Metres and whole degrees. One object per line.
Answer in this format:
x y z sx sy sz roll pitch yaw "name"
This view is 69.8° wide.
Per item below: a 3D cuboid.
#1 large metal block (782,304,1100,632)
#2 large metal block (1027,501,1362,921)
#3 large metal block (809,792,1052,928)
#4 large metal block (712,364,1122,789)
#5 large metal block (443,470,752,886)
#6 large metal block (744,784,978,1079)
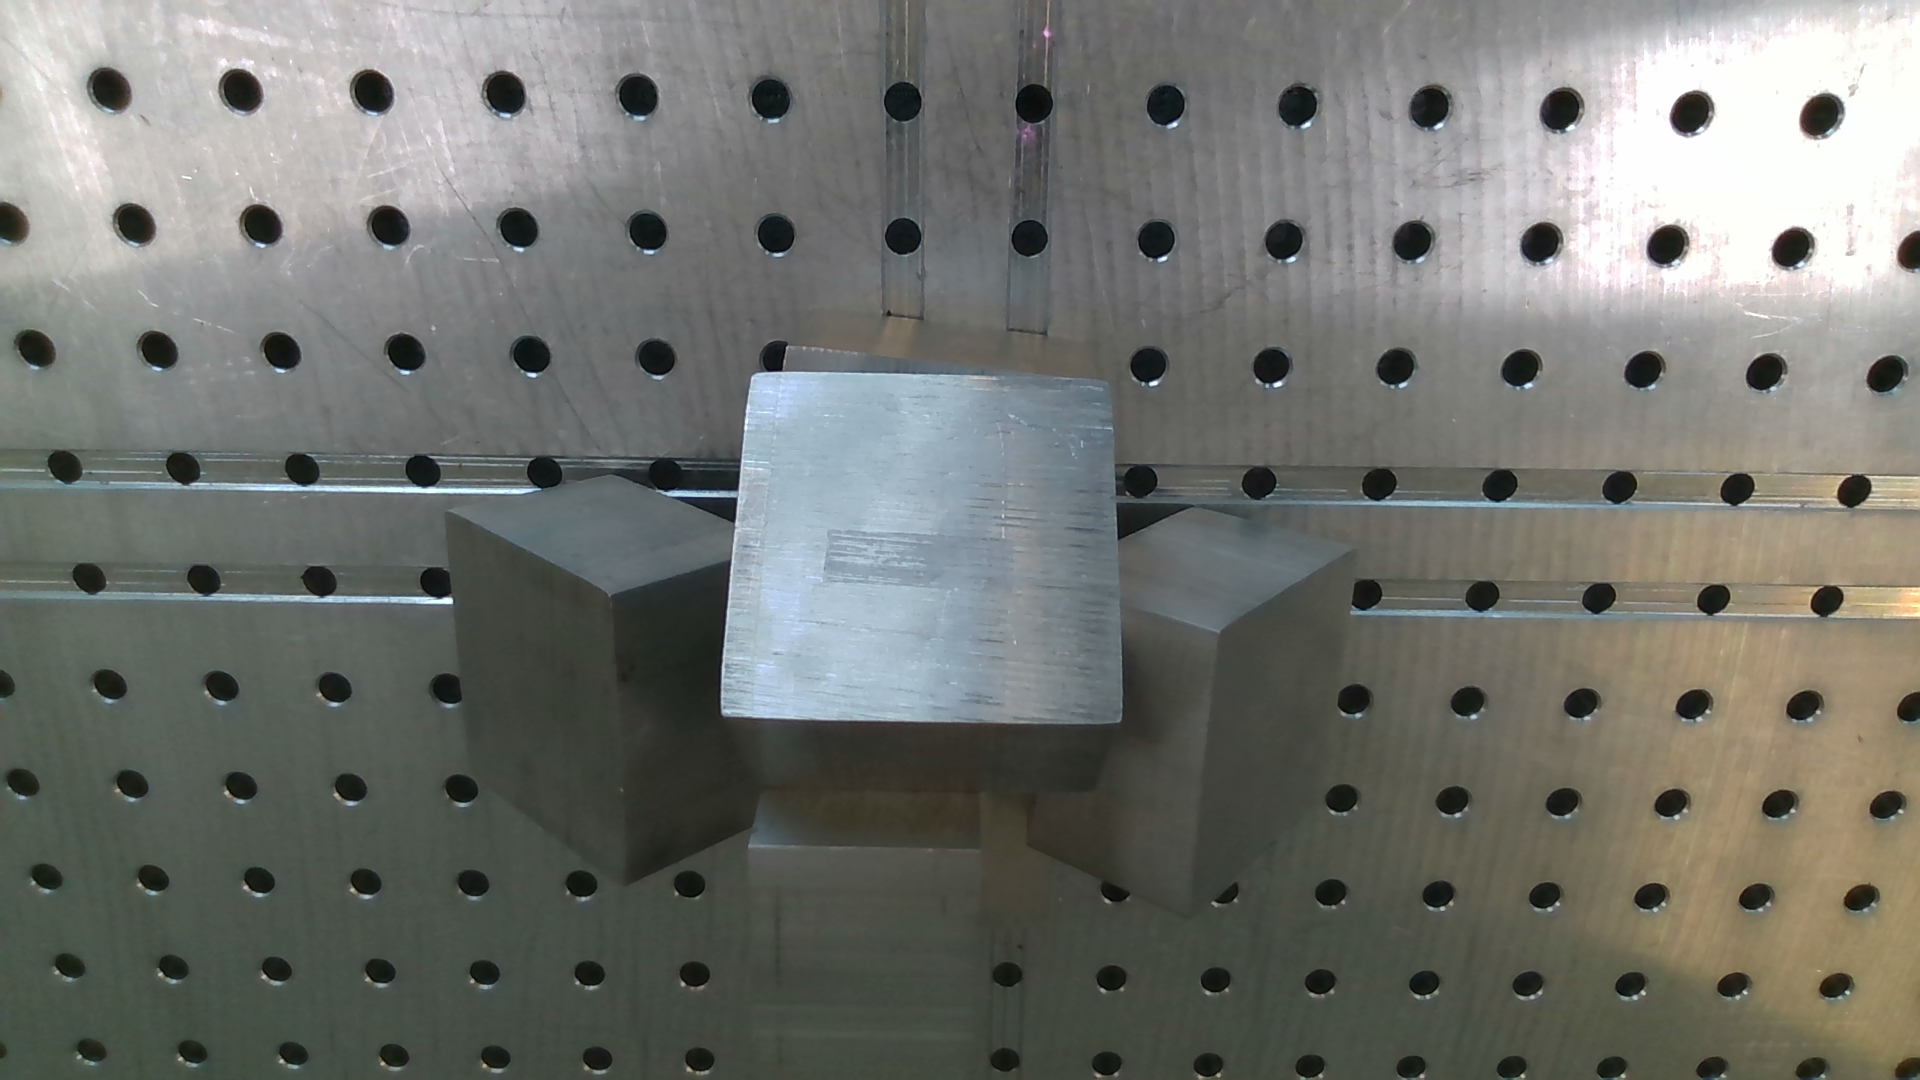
-0.009 -0.016 0.377 0.080 0.050 0.080 6 110 -2 "large metal block"
0.064 0.042 0.374 0.050 0.080 0.080 17 115 35 "large metal block"
-0.013 0.064 0.405 0.080 0.050 0.080 3 110 -1 "large metal block"
-0.008 0.009 0.308 0.080 0.050 0.080 1 65 0 "large metal block"
-0.094 0.033 0.372 0.080 0.050 0.080 20 116 40 "large metal block"
-0.022 0.089 0.346 0.050 0.080 0.080 1 110 -1 "large metal block"
